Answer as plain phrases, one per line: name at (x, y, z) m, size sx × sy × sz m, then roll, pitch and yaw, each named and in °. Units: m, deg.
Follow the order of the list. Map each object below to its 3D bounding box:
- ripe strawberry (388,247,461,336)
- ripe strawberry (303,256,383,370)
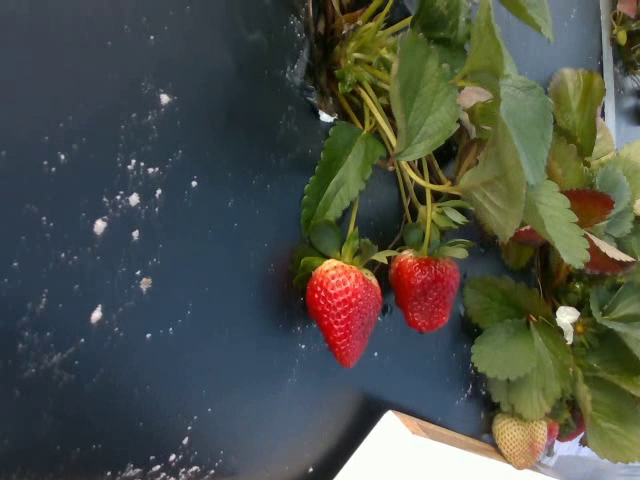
ripe strawberry at (0.066, 0.031, 0.349) m, size 0.042 × 0.053 × 0.034 m, roll 12°, pitch -14°, yaw -36°
ripe strawberry at (0.014, 0.039, 0.308) m, size 0.050 × 0.061 × 0.045 m, roll 18°, pitch -22°, yaw -38°
